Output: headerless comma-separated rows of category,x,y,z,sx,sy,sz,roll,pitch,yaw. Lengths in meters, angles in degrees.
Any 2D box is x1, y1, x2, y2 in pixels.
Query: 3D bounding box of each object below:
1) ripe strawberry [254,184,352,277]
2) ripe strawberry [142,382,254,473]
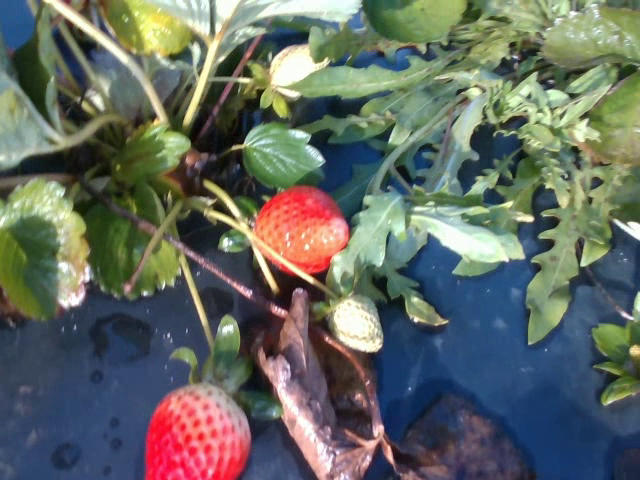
ripe strawberry,-0.003,-0.007,0.223,0.039,0.032,0.048,-37,19,-25
ripe strawberry,-0.040,0.060,0.175,0.035,0.043,0.030,19,-39,14
